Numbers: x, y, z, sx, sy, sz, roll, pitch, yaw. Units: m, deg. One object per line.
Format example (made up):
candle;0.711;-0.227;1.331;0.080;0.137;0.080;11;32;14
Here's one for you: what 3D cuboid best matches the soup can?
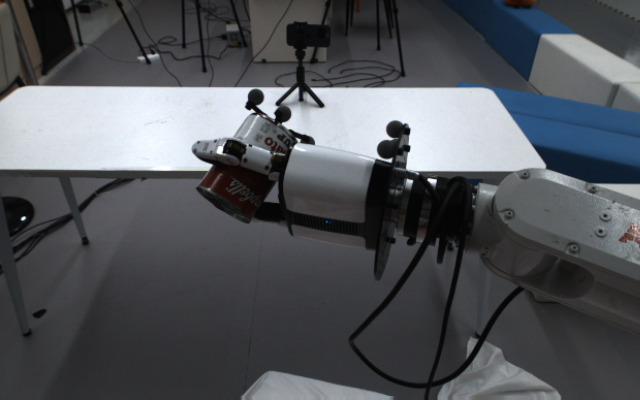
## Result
soup can;-0.075;-0.034;0.522;0.067;0.067;0.101;24;73;28
